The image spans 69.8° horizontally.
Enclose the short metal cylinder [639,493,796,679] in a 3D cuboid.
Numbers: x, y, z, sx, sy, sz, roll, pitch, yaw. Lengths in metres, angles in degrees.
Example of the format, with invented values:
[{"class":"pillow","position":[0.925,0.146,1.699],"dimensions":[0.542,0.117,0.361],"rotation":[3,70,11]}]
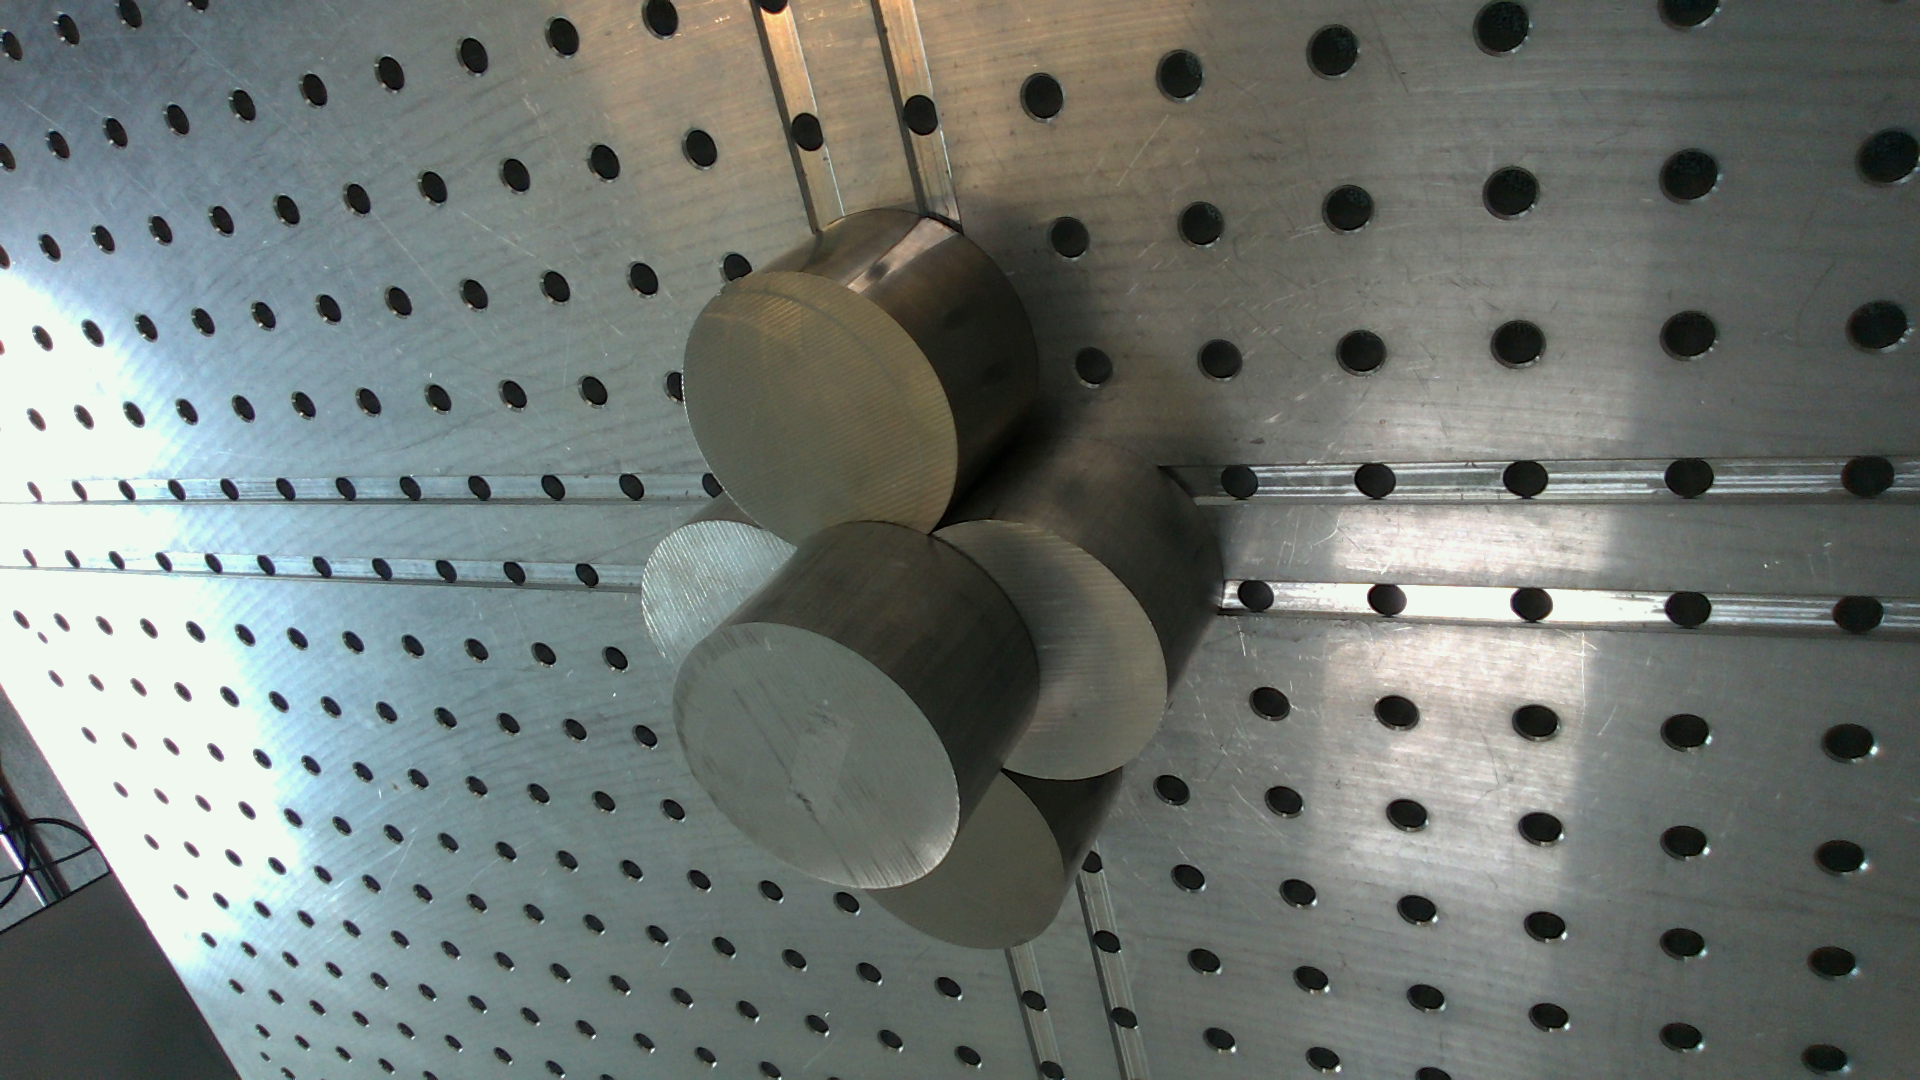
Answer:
[{"class":"short metal cylinder","position":[-0.049,0.017,0.417],"dimensions":[0.080,0.050,0.080],"rotation":[13,124,21]}]

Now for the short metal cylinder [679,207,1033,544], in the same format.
[{"class":"short metal cylinder","position":[-0.027,-0.042,0.368],"dimensions":[0.080,0.050,0.080],"rotation":[13,124,20]}]

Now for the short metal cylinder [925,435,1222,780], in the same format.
[{"class":"short metal cylinder","position":[0.026,0.018,0.377],"dimensions":[0.080,0.050,0.080],"rotation":[13,124,21]}]

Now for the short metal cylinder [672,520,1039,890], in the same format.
[{"class":"short metal cylinder","position":[-0.026,0.042,0.354],"dimensions":[0.080,0.050,0.080],"rotation":[13,124,21]}]

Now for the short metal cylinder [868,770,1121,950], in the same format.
[{"class":"short metal cylinder","position":[0.003,0.078,0.426],"dimensions":[0.080,0.050,0.080],"rotation":[13,122,22]}]
